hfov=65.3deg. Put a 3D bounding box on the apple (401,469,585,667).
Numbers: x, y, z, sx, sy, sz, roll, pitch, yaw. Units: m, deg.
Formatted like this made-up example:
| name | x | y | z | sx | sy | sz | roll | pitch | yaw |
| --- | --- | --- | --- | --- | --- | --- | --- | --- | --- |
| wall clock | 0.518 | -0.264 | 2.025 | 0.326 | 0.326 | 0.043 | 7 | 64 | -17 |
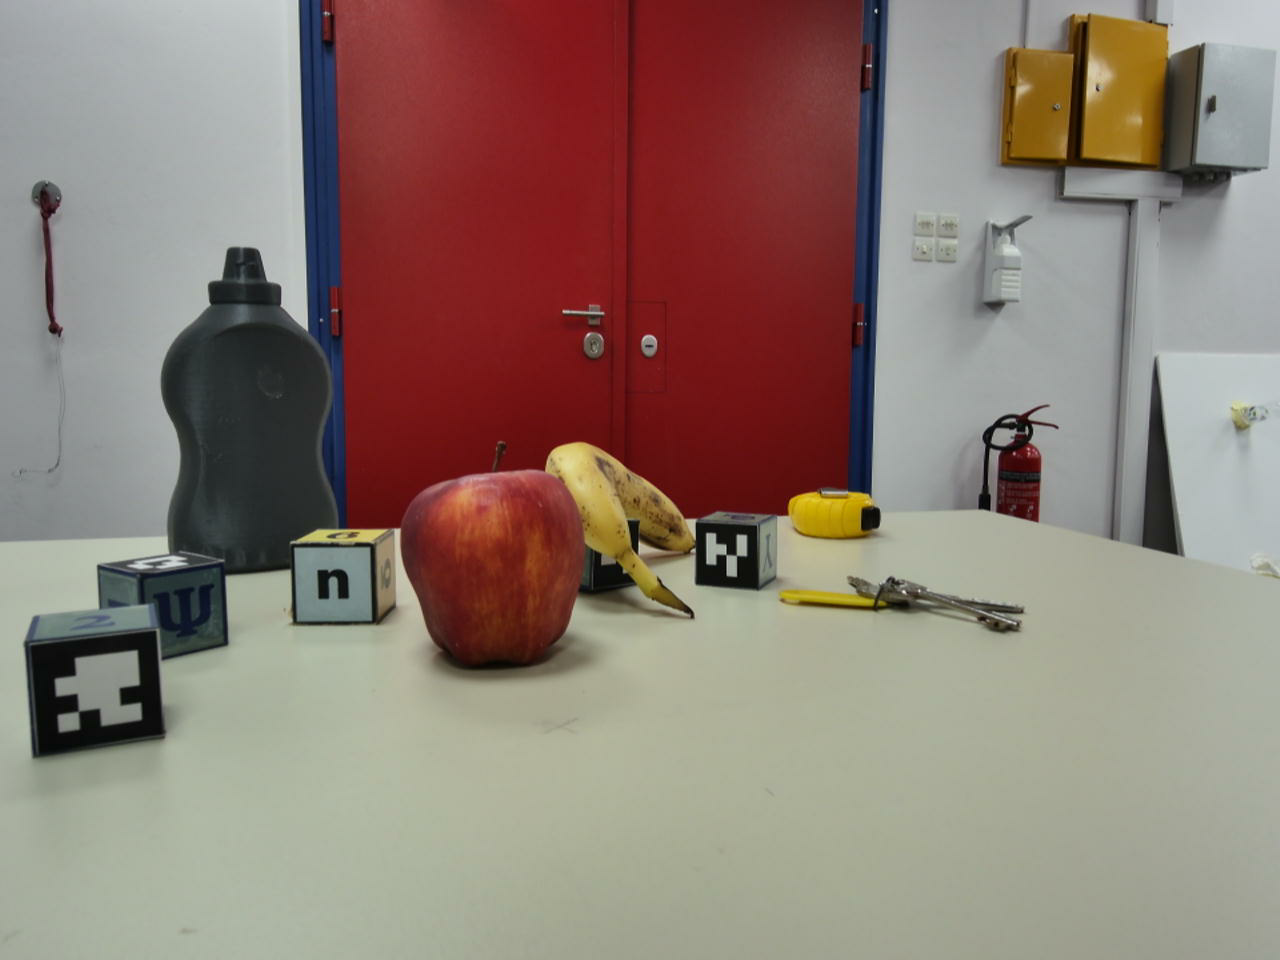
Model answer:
| name | x | y | z | sx | sy | sz | roll | pitch | yaw |
| --- | --- | --- | --- | --- | --- | --- | --- | --- | --- |
| apple | -0.063 | 0.030 | 0.421 | 0.083 | 0.090 | 0.083 | 1 | 4 | 0 |
